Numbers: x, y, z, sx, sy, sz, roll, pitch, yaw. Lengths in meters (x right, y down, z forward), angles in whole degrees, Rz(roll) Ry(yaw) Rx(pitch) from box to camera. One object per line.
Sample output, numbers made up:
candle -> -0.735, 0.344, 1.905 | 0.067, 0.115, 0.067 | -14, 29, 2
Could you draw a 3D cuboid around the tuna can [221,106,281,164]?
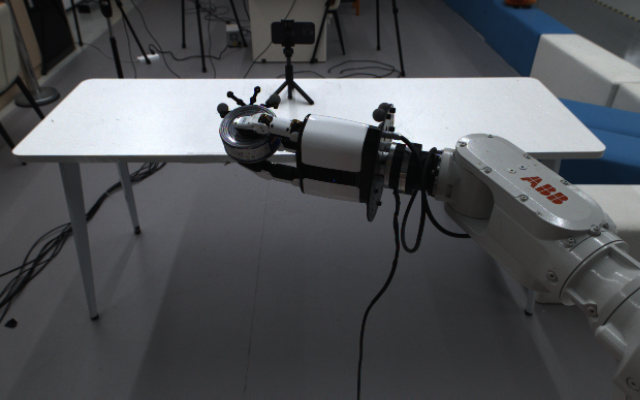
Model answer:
tuna can -> -0.096, -0.090, 0.695 | 0.085, 0.034, 0.085 | -3, 58, 5
